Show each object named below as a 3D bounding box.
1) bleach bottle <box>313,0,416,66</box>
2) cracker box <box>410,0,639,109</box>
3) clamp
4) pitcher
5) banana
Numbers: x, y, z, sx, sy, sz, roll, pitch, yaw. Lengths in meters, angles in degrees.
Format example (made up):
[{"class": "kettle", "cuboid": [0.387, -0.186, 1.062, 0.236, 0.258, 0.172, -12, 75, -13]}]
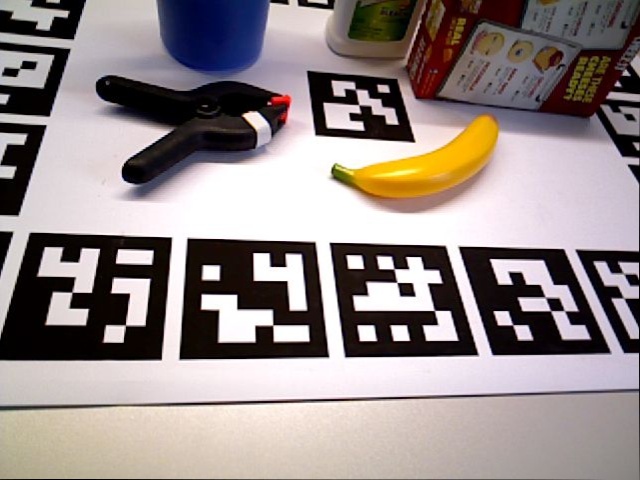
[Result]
[{"class": "bleach bottle", "cuboid": [0.063, -0.301, 0.538, 0.101, 0.257, 0.067, 0, 51, -12]}, {"class": "cracker box", "cuboid": [0.218, -0.225, 0.547, 0.211, 0.168, 0.071, 1, 49, -10]}, {"class": "clamp", "cuboid": [-0.102, -0.101, 0.482, 0.162, 0.037, 0.121, -13, 54, -24]}, {"class": "pitcher", "cuboid": [-0.109, -0.283, 0.461, 0.185, 0.249, 0.132, -15, 55, -26]}, {"class": "banana", "cuboid": [0.113, -0.077, 0.519, 0.193, 0.040, 0.074, -31, 63, -31]}]
